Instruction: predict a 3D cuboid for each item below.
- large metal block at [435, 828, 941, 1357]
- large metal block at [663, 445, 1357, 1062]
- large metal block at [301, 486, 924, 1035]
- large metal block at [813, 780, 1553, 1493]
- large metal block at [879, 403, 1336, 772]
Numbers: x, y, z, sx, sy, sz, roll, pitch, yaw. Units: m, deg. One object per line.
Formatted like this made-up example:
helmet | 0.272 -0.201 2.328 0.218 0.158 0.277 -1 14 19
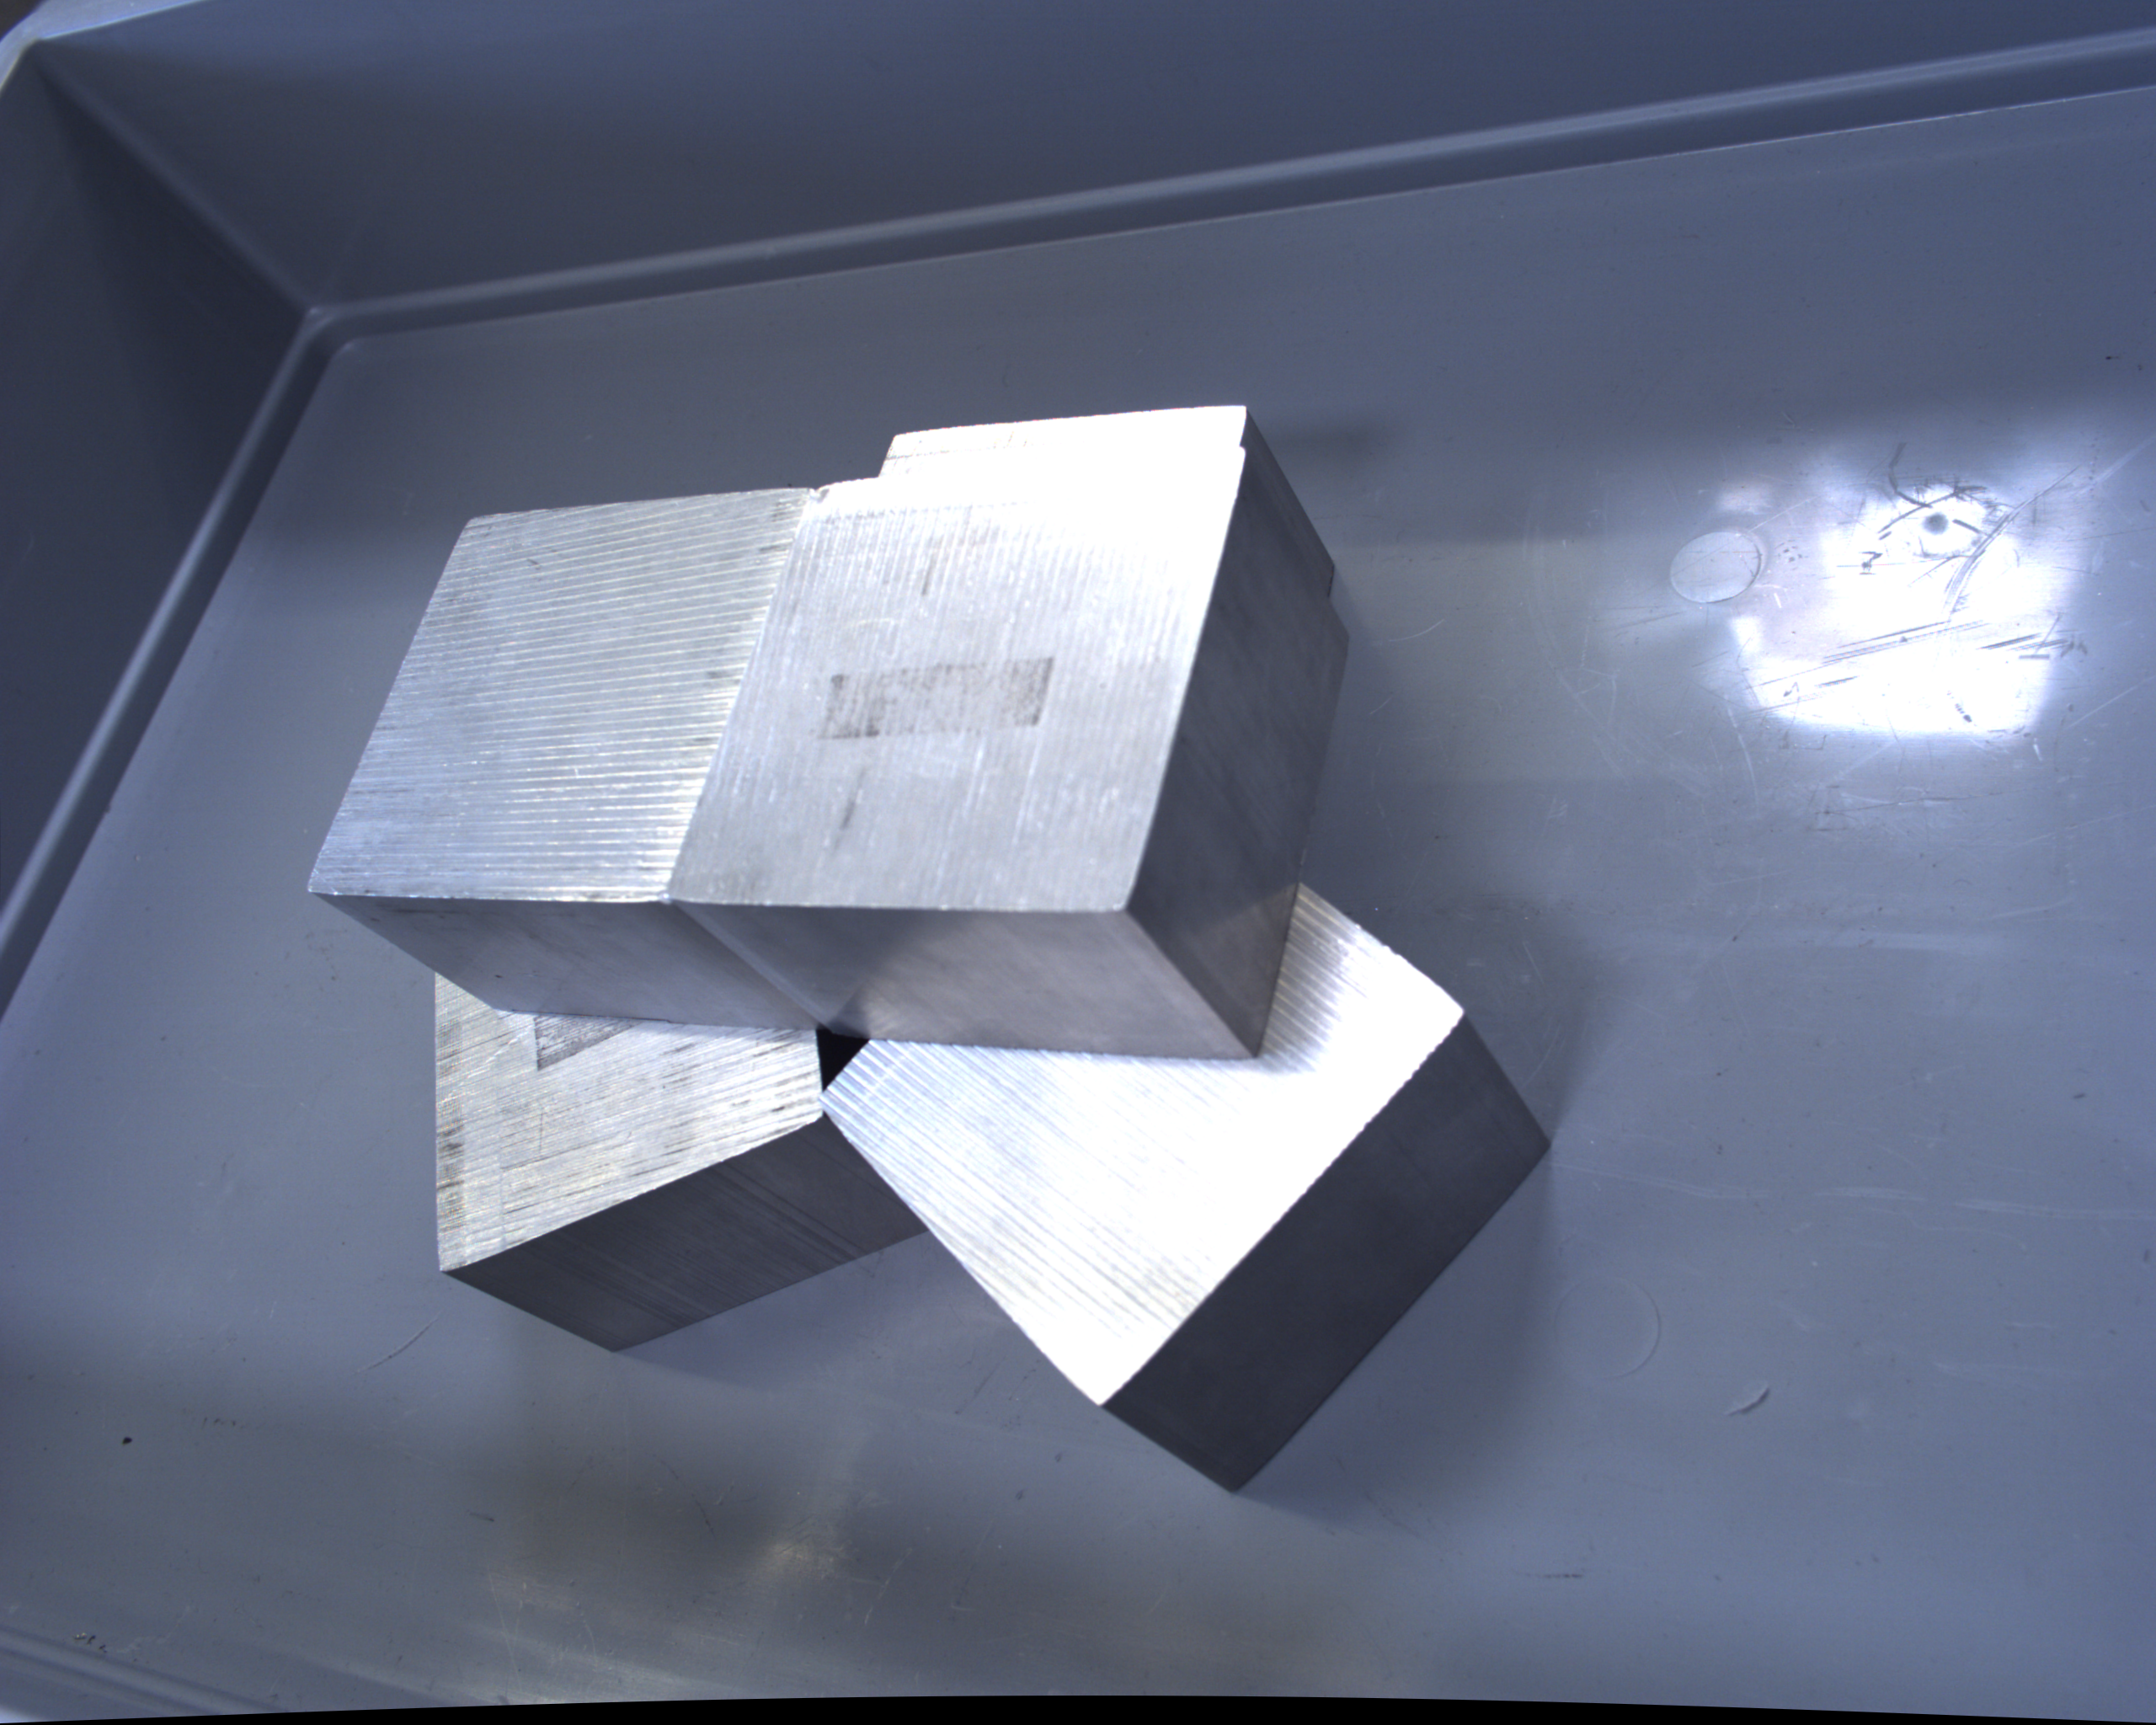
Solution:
large metal block | -0.075 0.038 0.404 0.080 0.050 0.080 -23 53 14
large metal block | -0.008 -0.017 0.336 0.080 0.050 0.080 1 62 28
large metal block | -0.078 -0.018 0.375 0.080 0.050 0.080 1 62 28
large metal block | 0.017 0.043 0.351 0.080 0.050 0.080 -47 51 -5
large metal block | -0.002 -0.041 0.414 0.080 0.050 0.080 2 62 29
